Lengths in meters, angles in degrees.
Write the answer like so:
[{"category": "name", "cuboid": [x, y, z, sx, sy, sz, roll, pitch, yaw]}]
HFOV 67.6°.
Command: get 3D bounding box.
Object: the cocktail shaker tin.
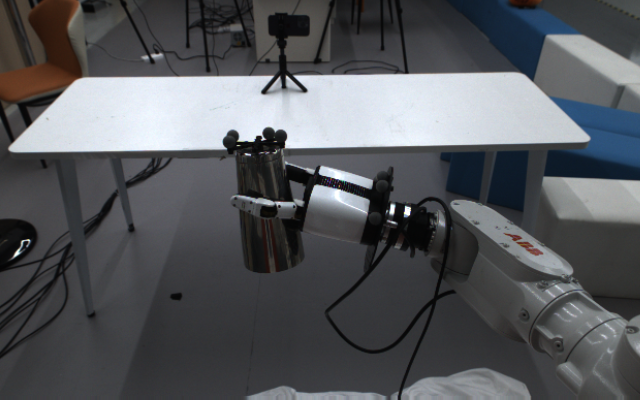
[{"category": "cocktail shaker tin", "cuboid": [-0.078, 0.009, 0.700, 0.093, 0.170, 0.093, -6, 19, 2]}]
